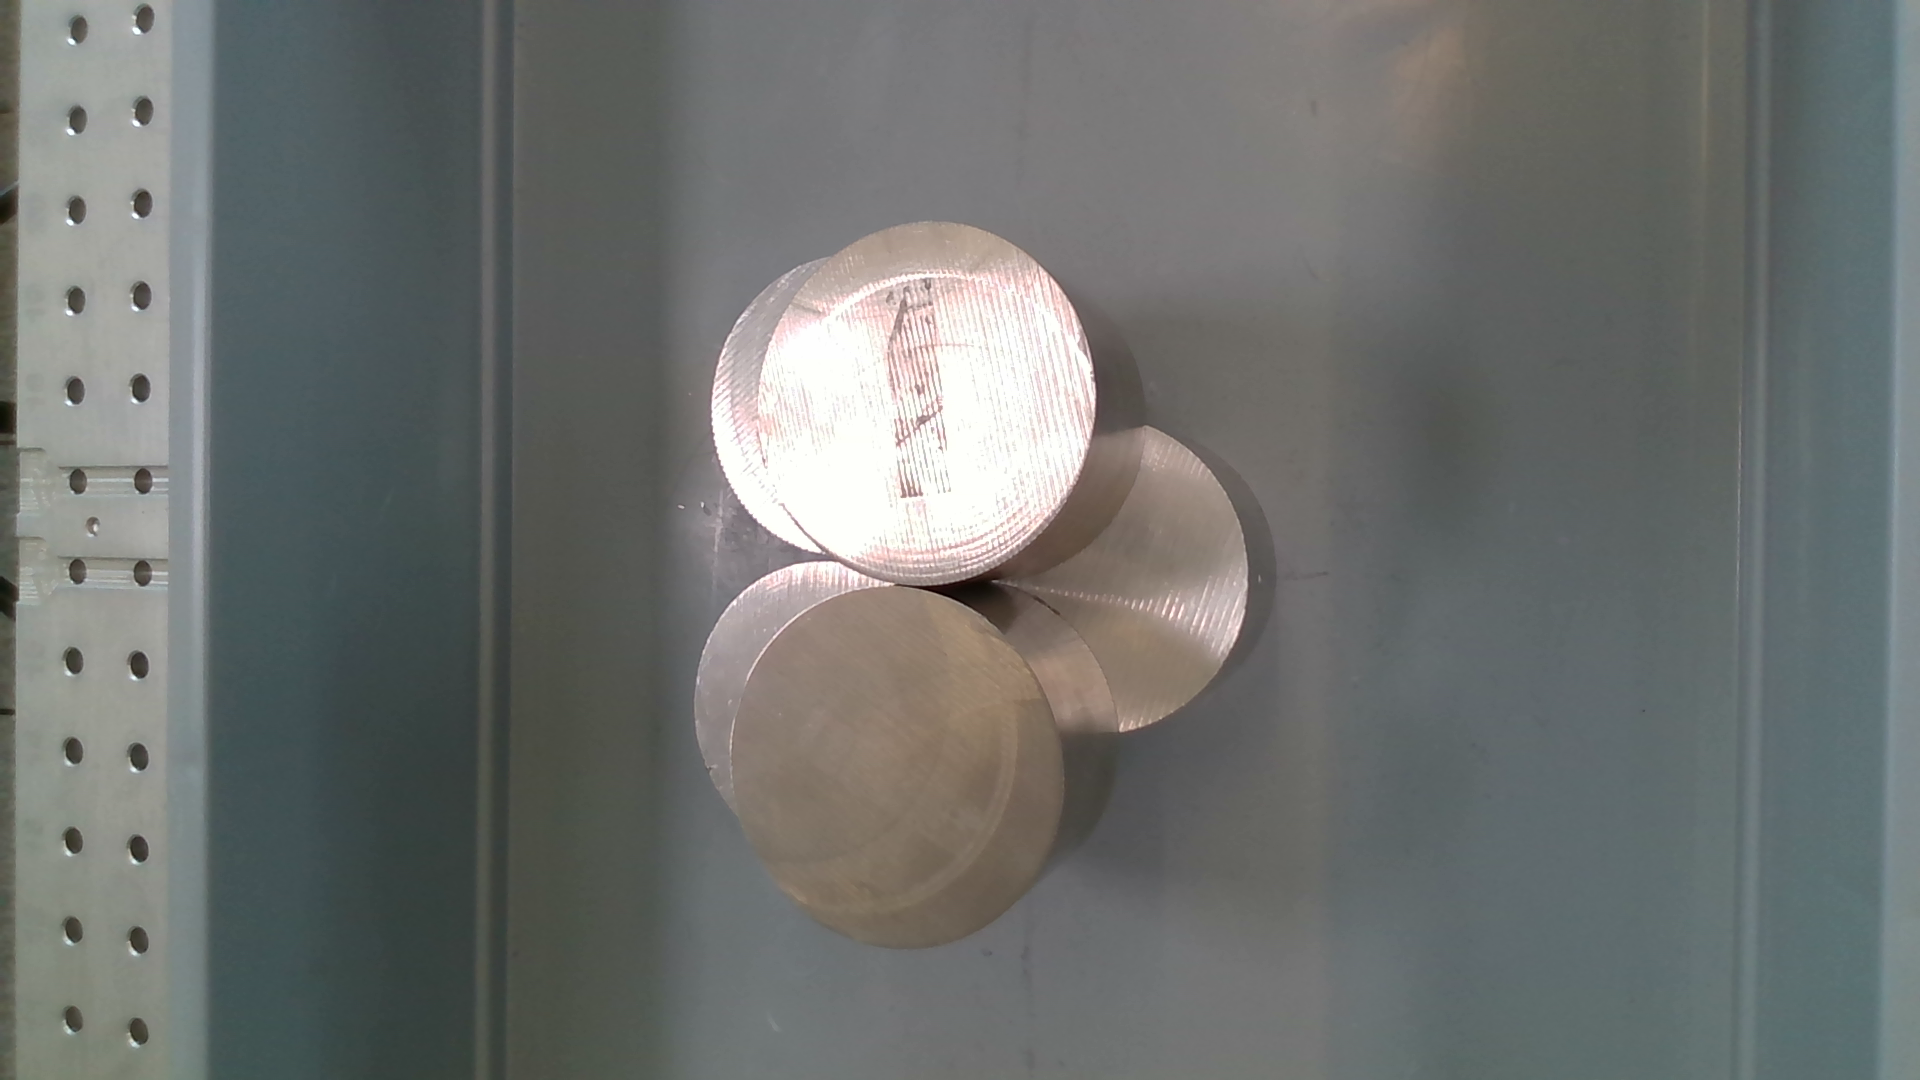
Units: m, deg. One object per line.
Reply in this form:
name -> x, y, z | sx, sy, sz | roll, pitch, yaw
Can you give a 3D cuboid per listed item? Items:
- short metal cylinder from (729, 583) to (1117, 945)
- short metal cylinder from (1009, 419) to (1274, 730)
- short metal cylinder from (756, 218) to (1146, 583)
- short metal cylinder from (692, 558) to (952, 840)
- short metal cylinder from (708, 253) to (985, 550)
short metal cylinder -> -0.007, 0.050, 0.328 | 0.080, 0.050, 0.080 | 0, 90, 20
short metal cylinder -> 0.040, 0.008, 0.365 | 0.080, 0.050, 0.080 | 0, 90, 20
short metal cylinder -> -0.001, -0.031, 0.326 | 0.080, 0.050, 0.080 | 0, 90, 20
short metal cylinder -> -0.028, 0.045, 0.390 | 0.080, 0.050, 0.080 | 0, 90, 20
short metal cylinder -> -0.023, -0.037, 0.387 | 0.080, 0.050, 0.080 | 0, 90, 20
